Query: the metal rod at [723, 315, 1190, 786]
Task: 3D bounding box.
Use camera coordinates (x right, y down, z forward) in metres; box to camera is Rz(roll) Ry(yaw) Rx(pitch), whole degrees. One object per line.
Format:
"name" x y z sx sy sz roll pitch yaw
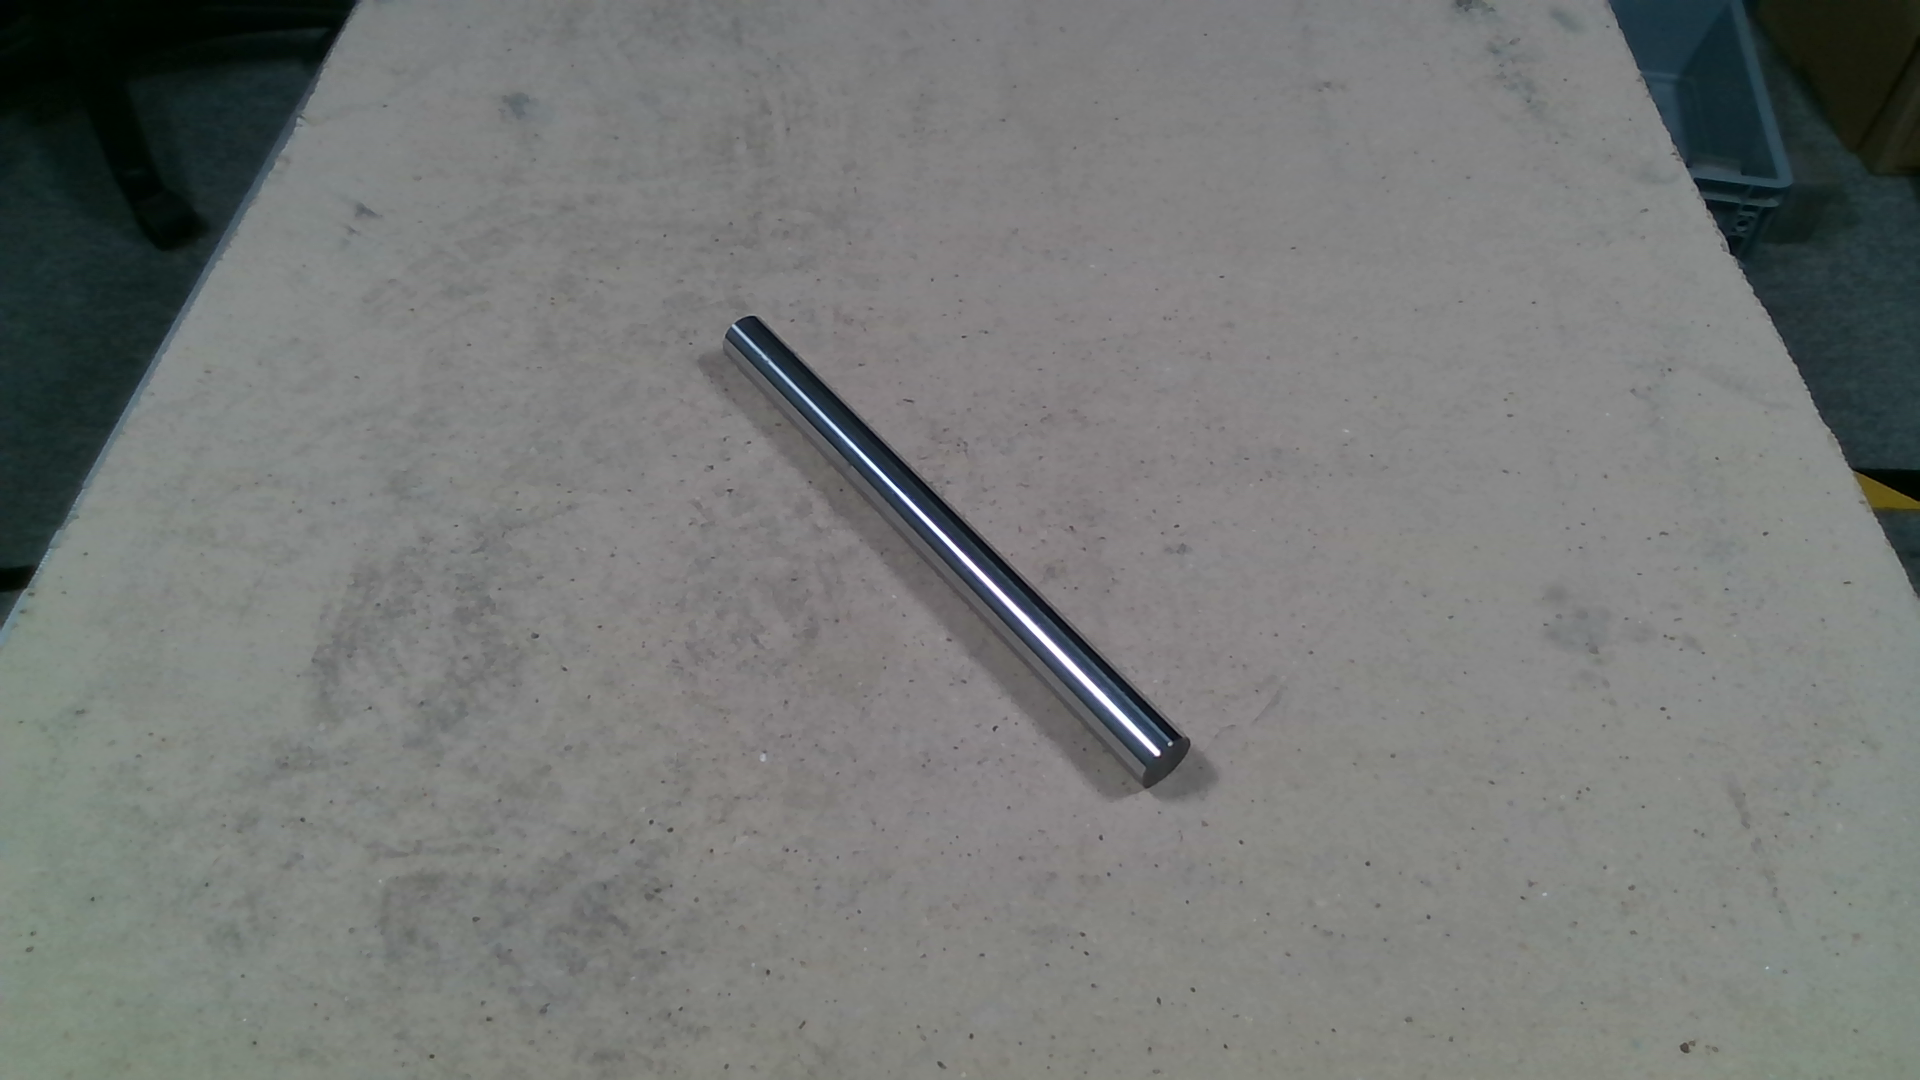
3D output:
"metal rod" -0.014 -0.008 0.594 0.025 0.025 0.299 -30 56 -23
